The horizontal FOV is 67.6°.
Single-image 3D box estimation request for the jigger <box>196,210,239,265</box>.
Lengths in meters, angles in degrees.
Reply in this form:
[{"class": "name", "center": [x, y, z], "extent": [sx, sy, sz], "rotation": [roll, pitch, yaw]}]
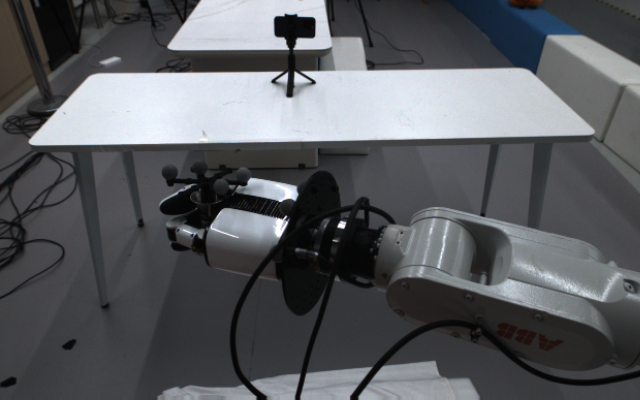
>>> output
[{"class": "jigger", "center": [-0.125, 0.025, 0.571], "extent": [0.043, 0.071, 0.043], "rotation": [3, 25, -1]}]
